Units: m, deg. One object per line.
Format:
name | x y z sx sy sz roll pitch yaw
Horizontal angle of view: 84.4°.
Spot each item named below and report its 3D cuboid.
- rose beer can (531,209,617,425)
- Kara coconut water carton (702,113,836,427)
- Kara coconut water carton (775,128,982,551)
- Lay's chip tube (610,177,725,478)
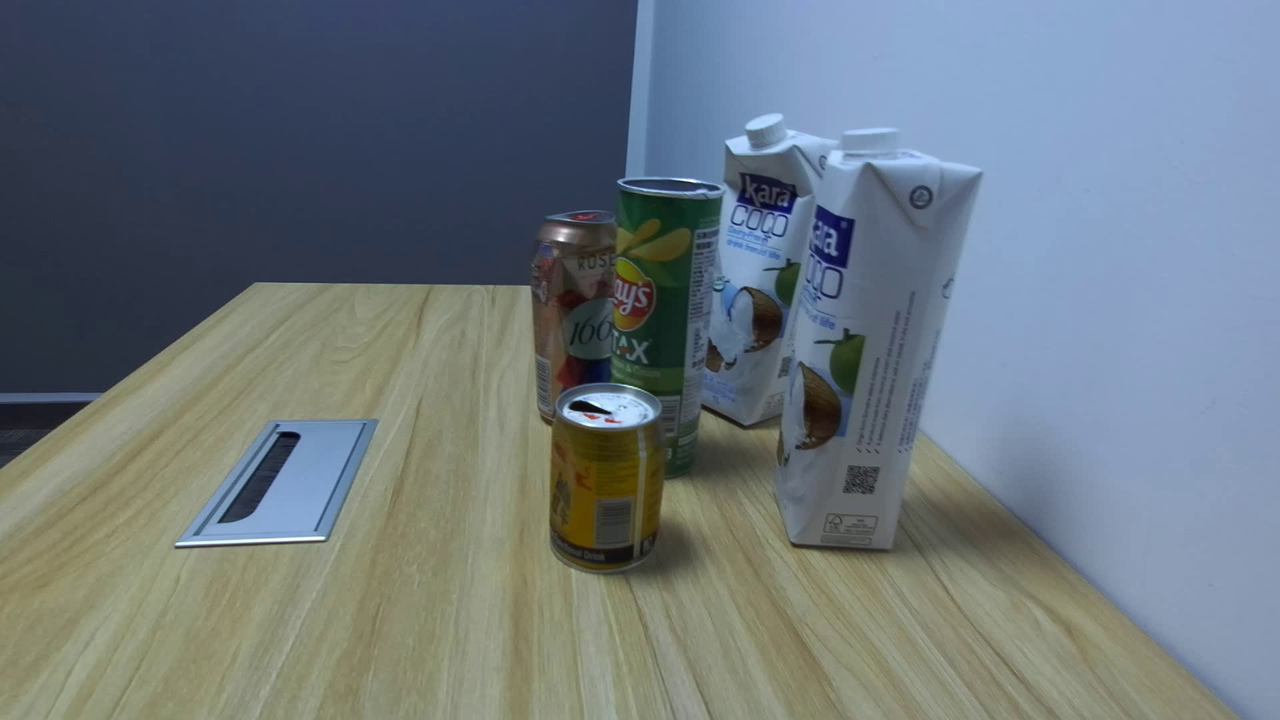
rose beer can | -0.048 -0.030 0.565 0.076 0.167 0.065 -9 17 -27
Kara coconut water carton | 0.101 -0.070 0.573 0.071 0.244 0.099 -10 21 -40
Kara coconut water carton | 0.133 -0.008 0.420 0.075 0.245 0.077 4 21 -3
Lay's chip tube | 0.015 -0.021 0.491 0.071 0.202 0.071 3 21 -1
